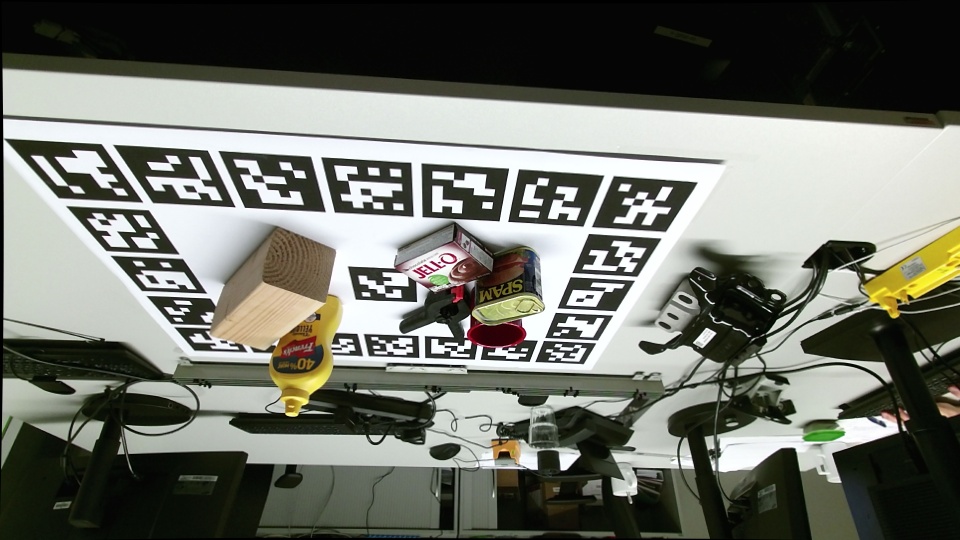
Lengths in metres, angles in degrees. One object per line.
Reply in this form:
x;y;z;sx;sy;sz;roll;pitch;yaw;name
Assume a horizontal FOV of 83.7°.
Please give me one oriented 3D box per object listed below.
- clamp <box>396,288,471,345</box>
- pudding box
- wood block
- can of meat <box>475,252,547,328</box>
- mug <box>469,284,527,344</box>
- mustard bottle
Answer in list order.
-0.063;0.084;0.903;0.122;0.036;0.165;15;140;-18;clamp
-0.055;-0.010;0.762;0.114;0.038;0.090;-21;139;30;pudding box
-0.312;0.037;0.789;0.090;0.090;0.206;25;140;-34;wood block
0.041;0.029;0.769;0.102;0.083;0.058;-16;140;21;can of meat
0.022;0.068;0.873;0.094;0.081;0.117;16;140;-21;mug
-0.278;0.143;0.844;0.096;0.190;0.058;-1;144;0;mustard bottle
